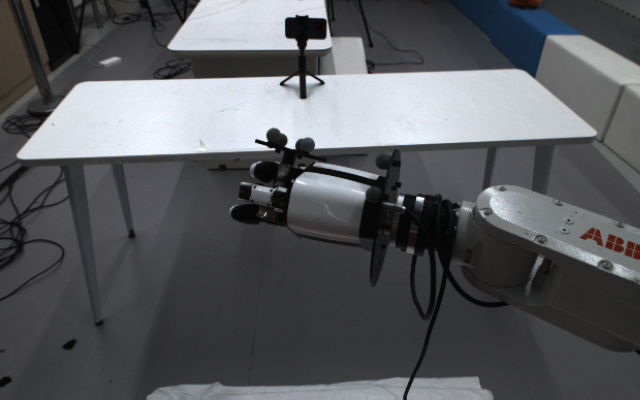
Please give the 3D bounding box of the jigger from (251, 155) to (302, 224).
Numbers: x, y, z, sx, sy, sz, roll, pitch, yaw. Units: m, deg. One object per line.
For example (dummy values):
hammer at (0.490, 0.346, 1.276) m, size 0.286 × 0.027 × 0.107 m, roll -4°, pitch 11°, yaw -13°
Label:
jigger at (-0.050, -0.011, 0.582) m, size 0.043 × 0.071 × 0.043 m, roll 17°, pitch 2°, yaw -1°
